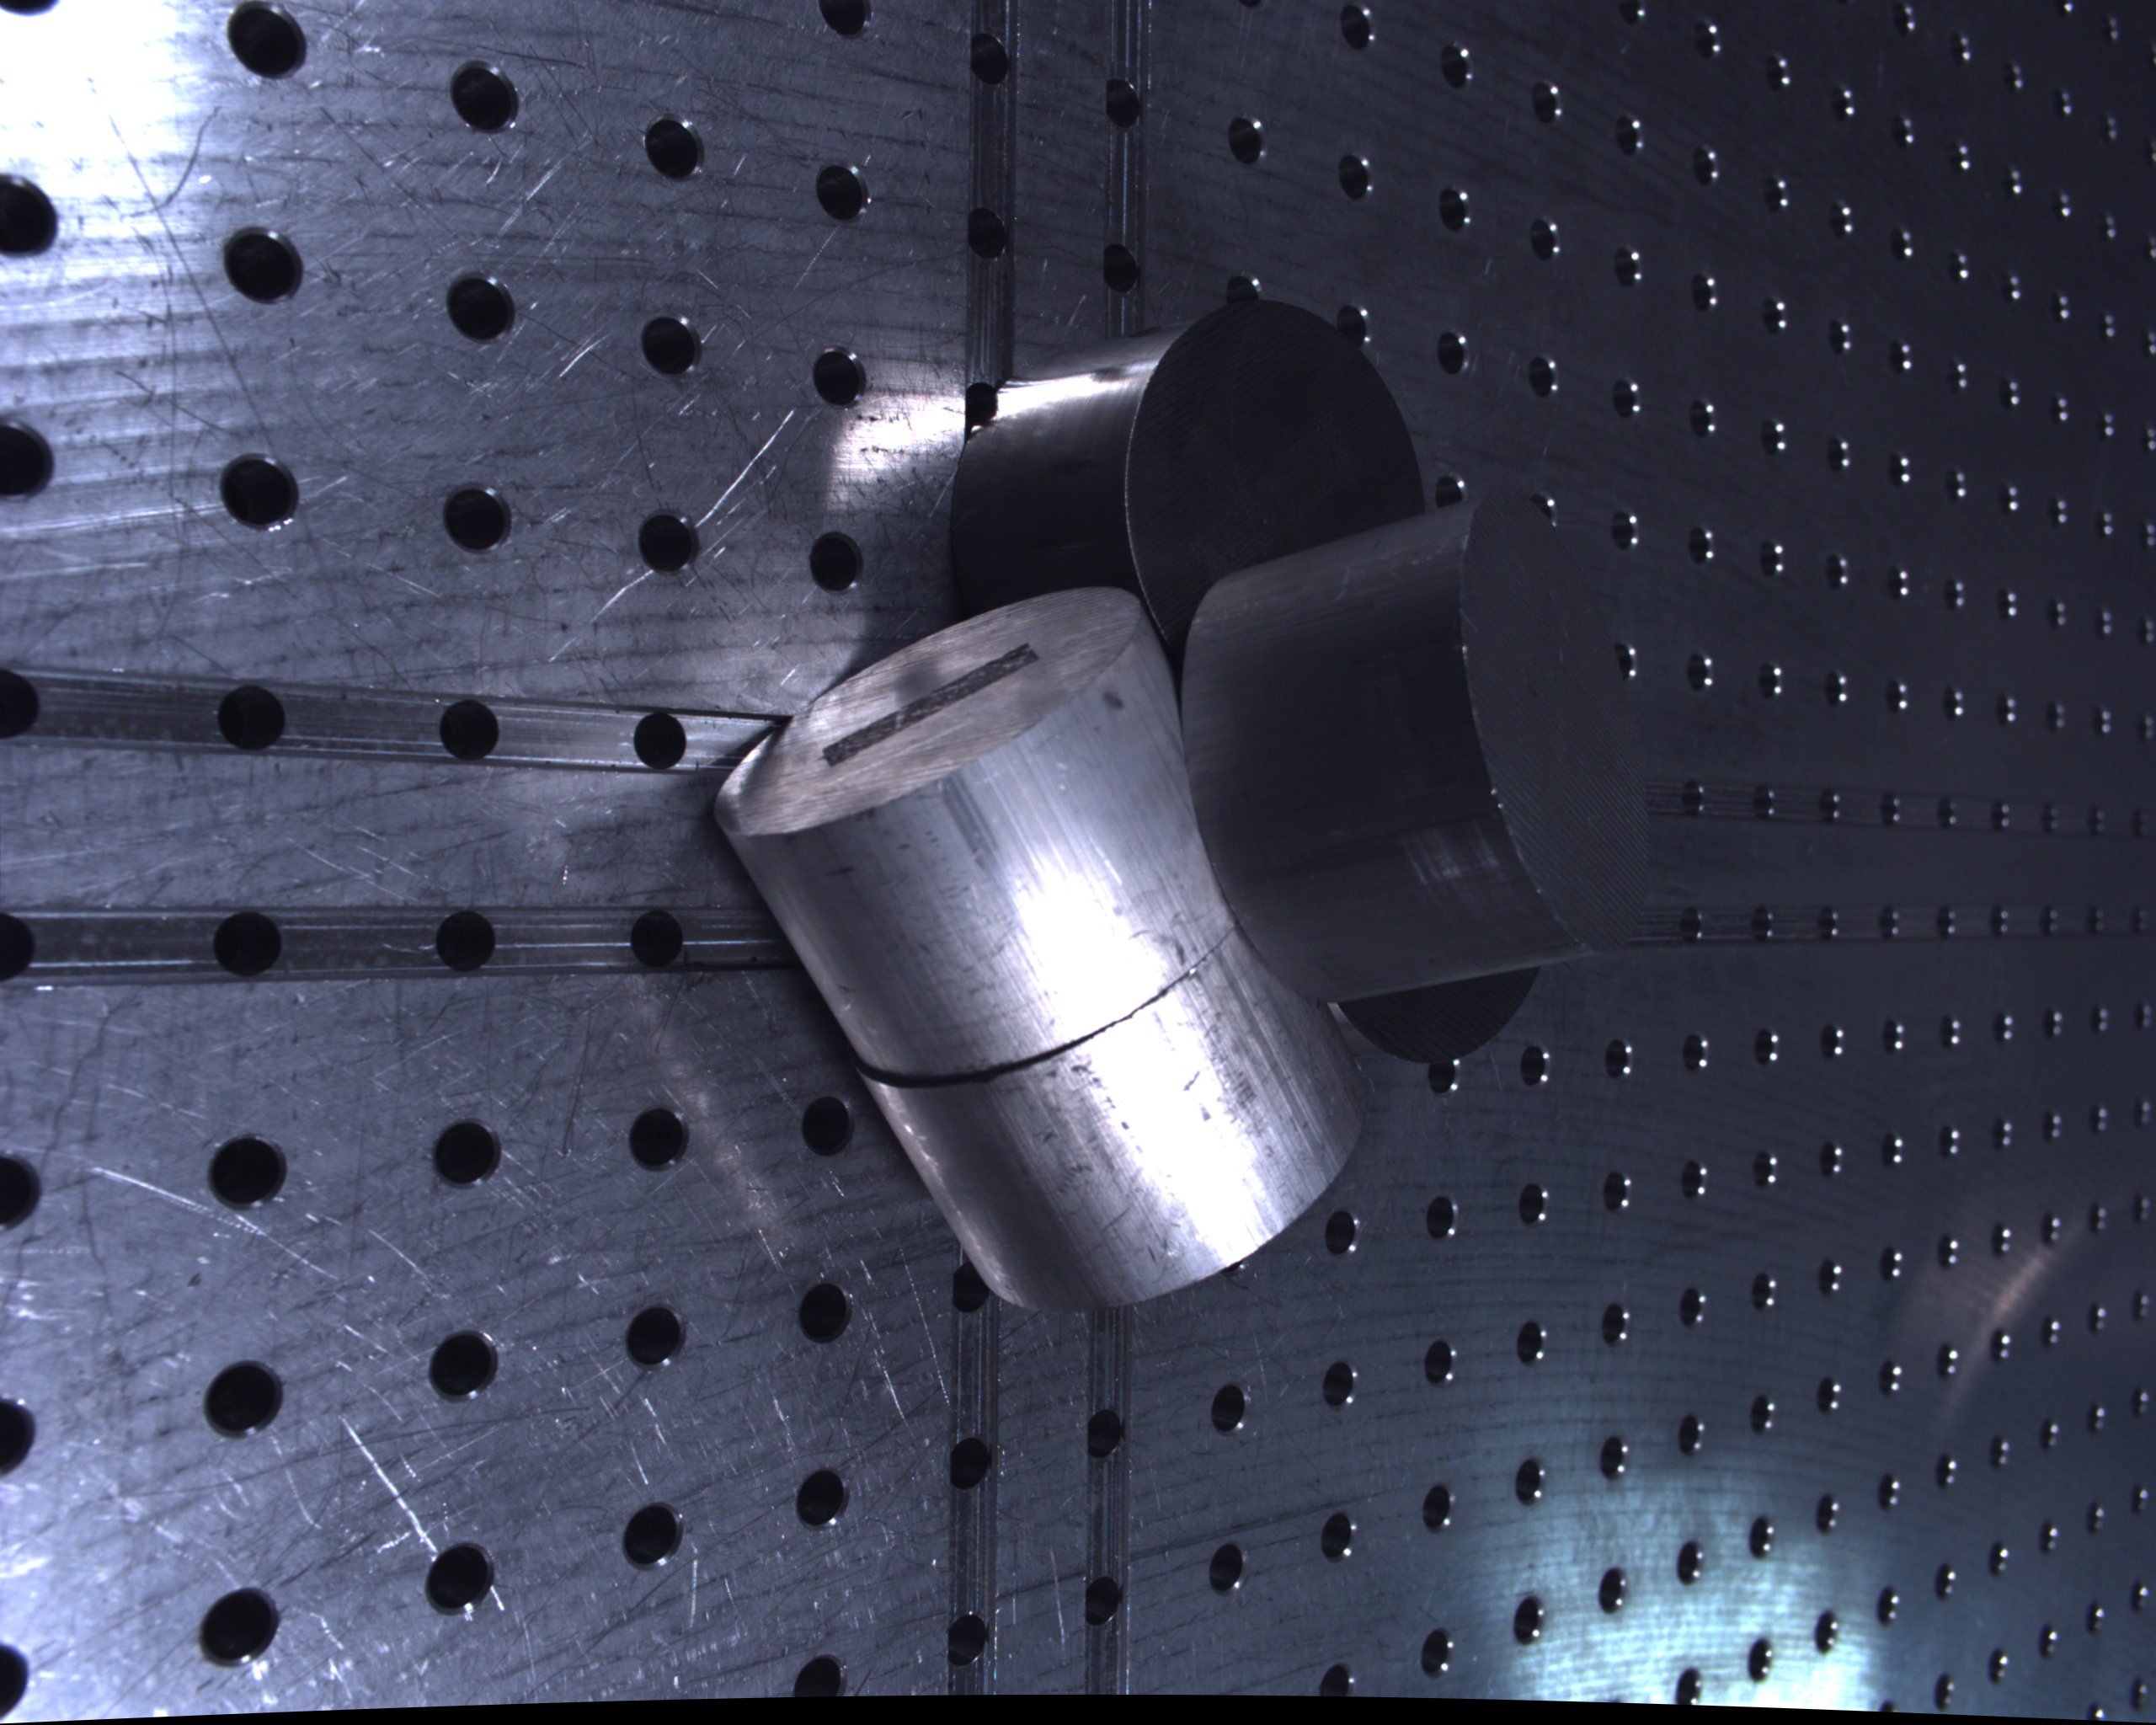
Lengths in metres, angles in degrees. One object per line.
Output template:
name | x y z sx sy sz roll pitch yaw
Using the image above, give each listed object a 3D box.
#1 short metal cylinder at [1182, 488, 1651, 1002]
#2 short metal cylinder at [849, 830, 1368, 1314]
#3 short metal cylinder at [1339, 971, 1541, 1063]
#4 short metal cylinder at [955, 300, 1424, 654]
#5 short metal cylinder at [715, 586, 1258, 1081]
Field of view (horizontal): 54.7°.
short metal cylinder | 0.060 -0.019 0.362 0.080 0.050 0.080 28 55 -51
short metal cylinder | 0.006 0.036 0.380 0.080 0.080 0.050 -41 116 -32
short metal cylinder | 0.057 0.001 0.442 0.081 0.050 0.079 0 90 -40
short metal cylinder | 0.023 -0.066 0.413 0.081 0.050 0.079 0 90 -40
short metal cylinder | -0.015 -0.006 0.363 0.080 0.080 0.050 -41 116 -32
